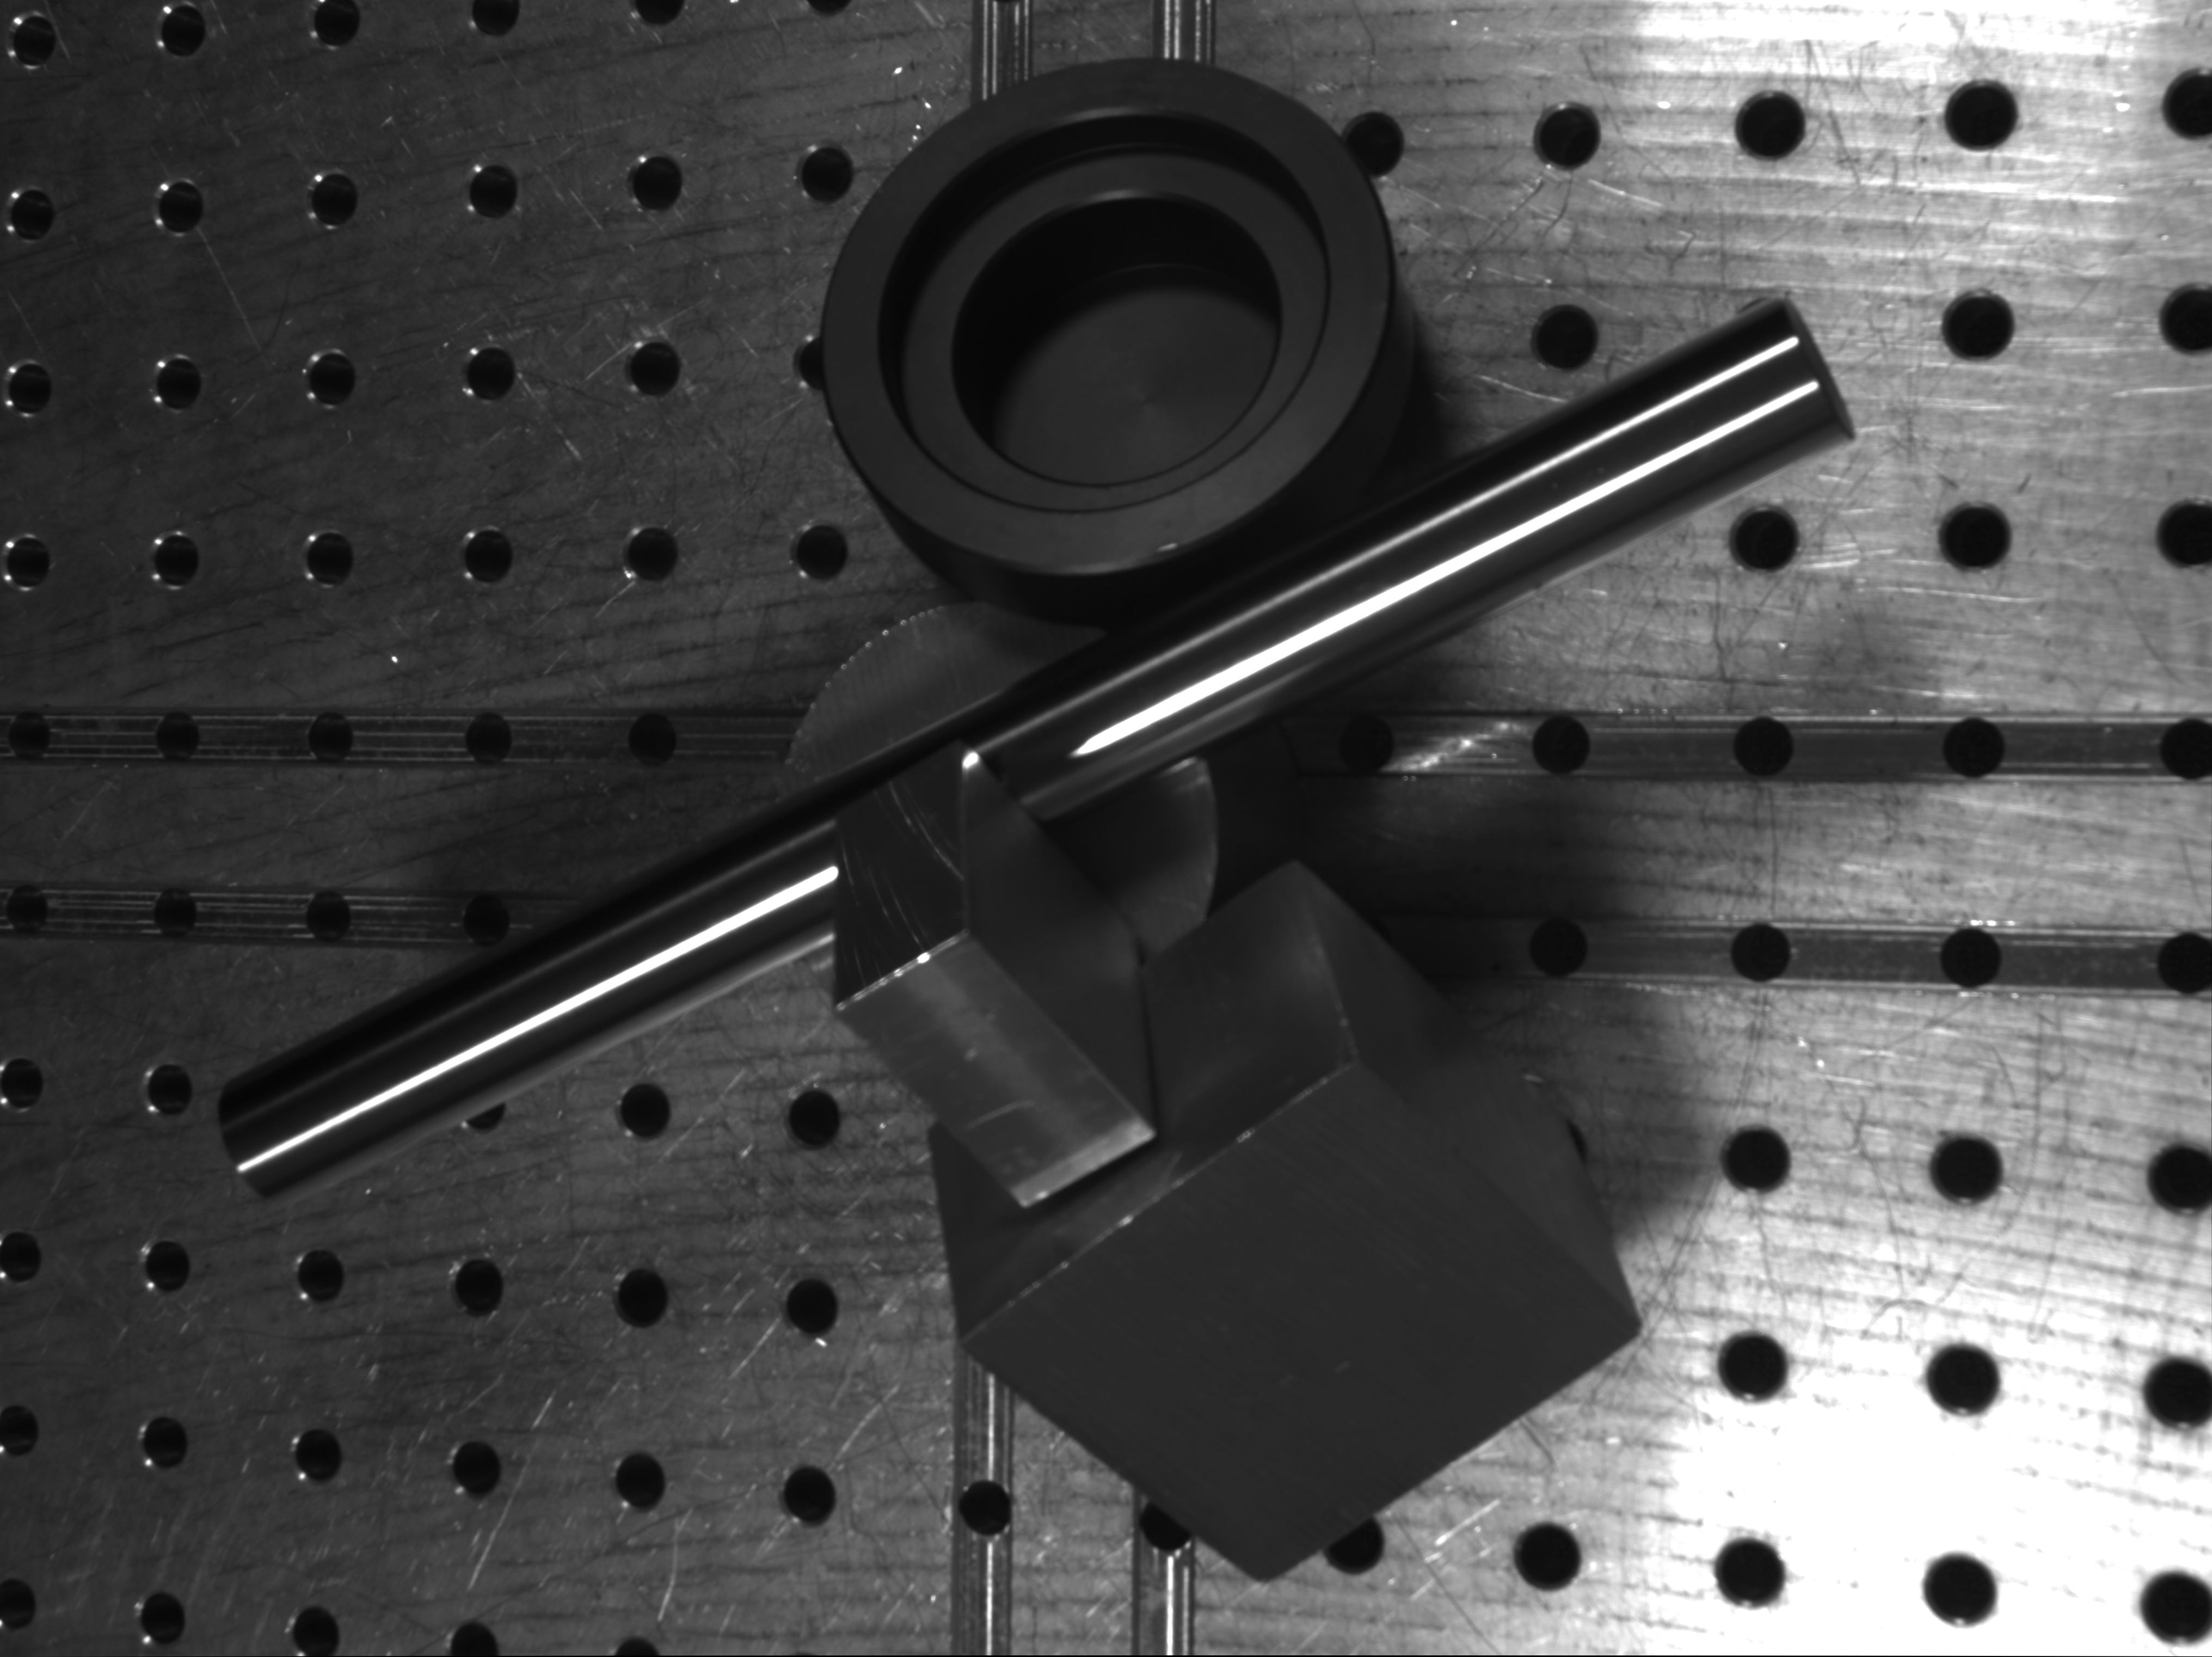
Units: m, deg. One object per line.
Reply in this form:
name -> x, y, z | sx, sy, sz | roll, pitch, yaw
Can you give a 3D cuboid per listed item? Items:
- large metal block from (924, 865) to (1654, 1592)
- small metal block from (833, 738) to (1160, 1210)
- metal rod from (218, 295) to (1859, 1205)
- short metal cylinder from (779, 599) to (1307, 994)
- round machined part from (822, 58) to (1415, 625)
large metal block -> 0.029, 0.067, 0.599 | 0.080, 0.050, 0.080 | -37, 123, 16
small metal block -> -0.018, 0.023, 0.575 | 0.025, 0.050, 0.050 | -31, 122, 17
metal rod -> -0.020, -0.007, 0.600 | 0.300, 0.025, 0.025 | -26, 81, 18
short metal cylinder -> -0.011, 0.002, 0.637 | 0.080, 0.050, 0.080 | 0, 90, 20
round machined part -> 0.004, -0.078, 0.624 | 0.098, 0.042, 0.098 | -5, 66, 12
